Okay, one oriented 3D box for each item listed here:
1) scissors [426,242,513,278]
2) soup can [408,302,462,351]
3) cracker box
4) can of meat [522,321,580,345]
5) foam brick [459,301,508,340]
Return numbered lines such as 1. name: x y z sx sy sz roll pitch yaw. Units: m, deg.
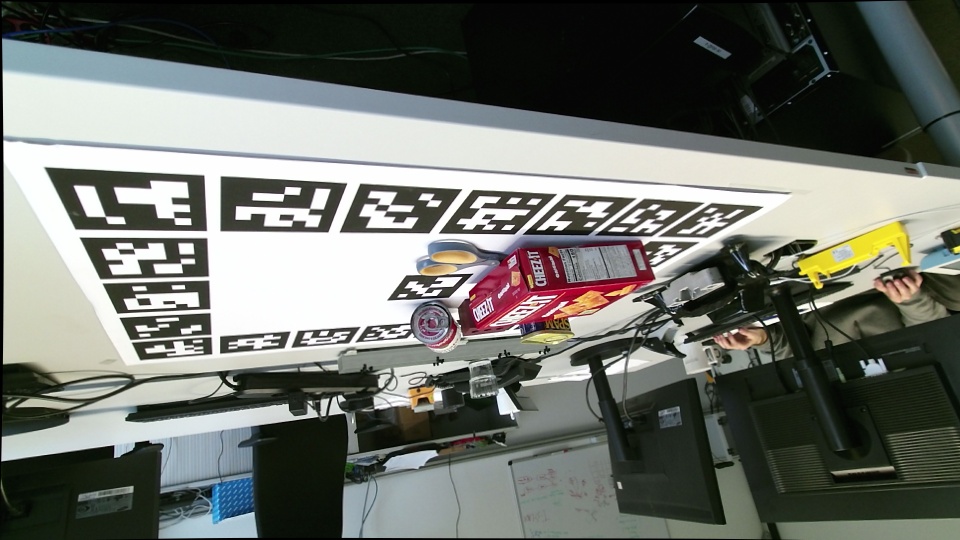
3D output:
1. scissors: 0.027 -0.015 0.710 0.203 0.016 0.088 -4 154 -22
2. soup can: -0.074 0.096 0.892 0.068 0.067 0.102 -17 162 8
3. cracker box: 0.123 0.026 0.778 0.214 0.071 0.164 -7 157 -24
4. can of meat: 0.113 0.082 0.917 0.102 0.083 0.058 7 149 -39
5. foam brick: 0.011 0.082 0.908 0.078 0.051 0.053 -6 155 -17
